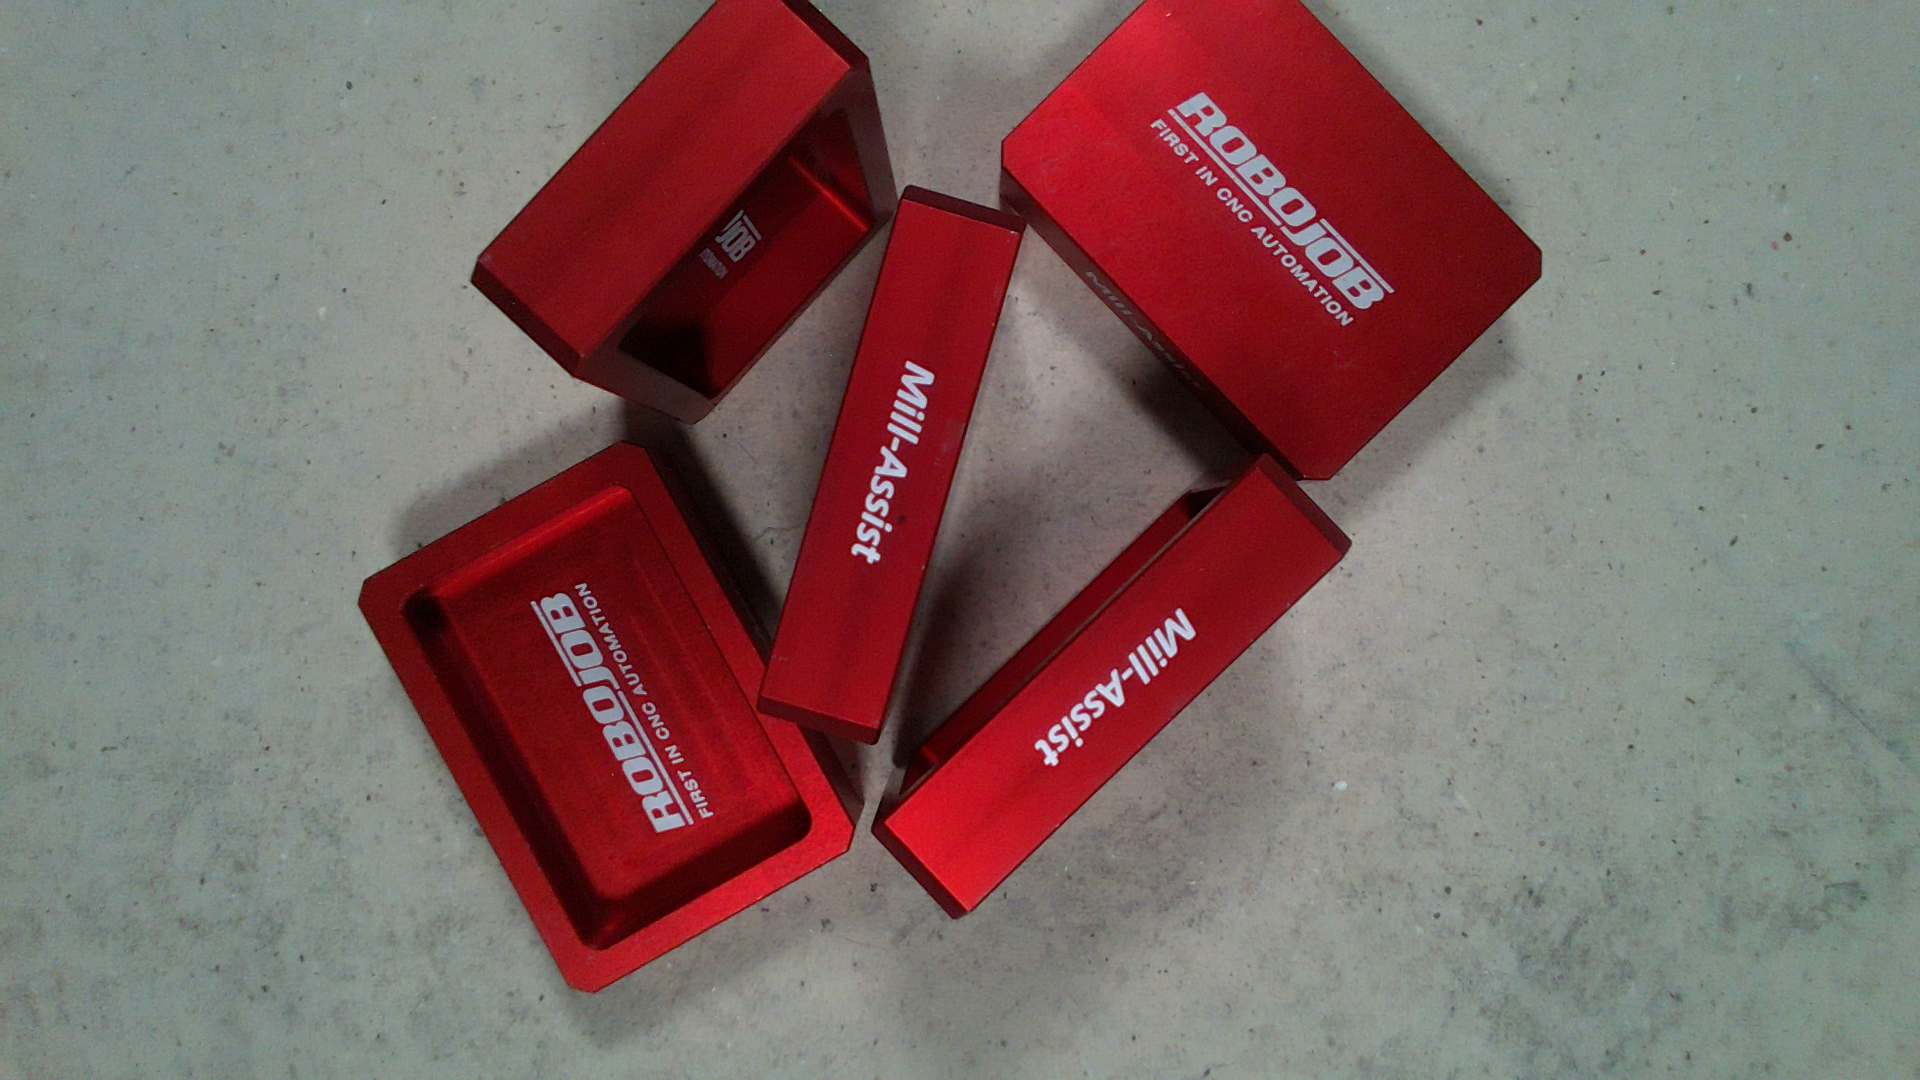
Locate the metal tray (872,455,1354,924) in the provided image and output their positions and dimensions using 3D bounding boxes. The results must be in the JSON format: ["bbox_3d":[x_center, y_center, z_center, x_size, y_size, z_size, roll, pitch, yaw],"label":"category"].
[{"bbox_3d":[0.036,0.035,0.363,0.130,0.090,0.030,-44,90,0],"label":"metal tray"}]

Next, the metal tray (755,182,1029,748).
[{"bbox_3d":[-0.016,-0.018,0.362,0.030,0.090,0.130,16,90,0],"label":"metal tray"}]

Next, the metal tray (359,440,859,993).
[{"bbox_3d":[-0.097,0.049,0.393,0.090,0.030,0.130,-29,90,0],"label":"metal tray"}]

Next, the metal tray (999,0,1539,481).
[{"bbox_3d":[0.086,-0.092,0.393,0.090,0.030,0.130,-44,90,0],"label":"metal tray"}]

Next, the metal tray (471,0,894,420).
[{"bbox_3d":[-0.059,-0.076,0.342,0.030,0.130,0.090,43,90,0],"label":"metal tray"}]
